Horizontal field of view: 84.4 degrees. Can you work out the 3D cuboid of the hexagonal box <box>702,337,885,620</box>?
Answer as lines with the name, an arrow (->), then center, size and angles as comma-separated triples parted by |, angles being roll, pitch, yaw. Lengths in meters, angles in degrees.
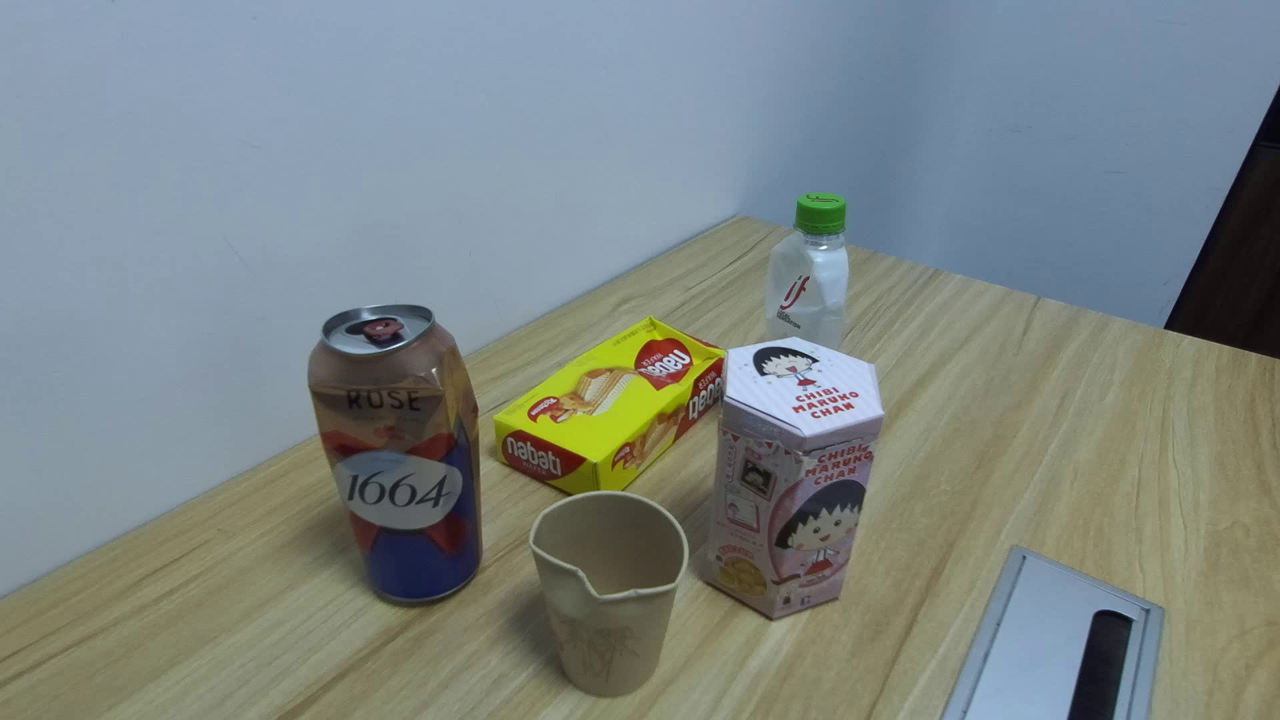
hexagonal box -> 0.082, 0.067, 0.394 | 0.091, 0.136, 0.083 | -12, 34, -20

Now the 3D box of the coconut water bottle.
coconut water bottle -> 0.112, -0.020, 0.487 | 0.067, 0.187, 0.067 | 2, 29, -1

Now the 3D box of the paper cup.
paper cup -> -0.016, 0.120, 0.357 | 0.073, 0.081, 0.068 | -7, 32, -15

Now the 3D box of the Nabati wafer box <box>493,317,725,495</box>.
Nabati wafer box -> -0.008, 0.028, 0.547 | 0.096, 0.042, 0.204 | 20, 36, 31

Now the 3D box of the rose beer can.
rose beer can -> -0.126, 0.053, 0.385 | 0.075, 0.167, 0.065 | 5, 29, 10
